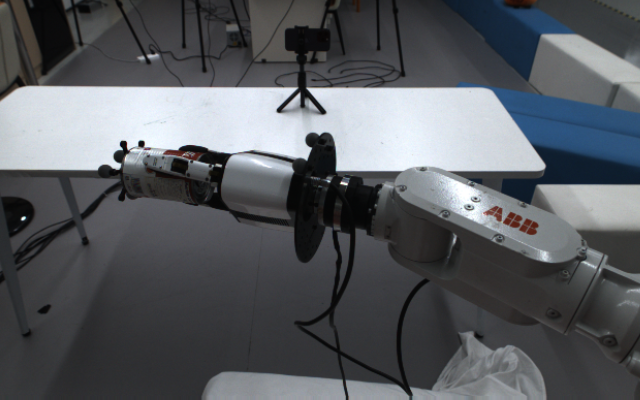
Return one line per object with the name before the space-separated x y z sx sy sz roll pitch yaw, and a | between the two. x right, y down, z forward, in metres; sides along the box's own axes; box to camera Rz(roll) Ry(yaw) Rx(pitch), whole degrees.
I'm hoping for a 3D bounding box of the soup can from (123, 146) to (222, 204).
soup can | -0.194 -0.032 0.630 0.101 0.067 0.067 6 35 11
